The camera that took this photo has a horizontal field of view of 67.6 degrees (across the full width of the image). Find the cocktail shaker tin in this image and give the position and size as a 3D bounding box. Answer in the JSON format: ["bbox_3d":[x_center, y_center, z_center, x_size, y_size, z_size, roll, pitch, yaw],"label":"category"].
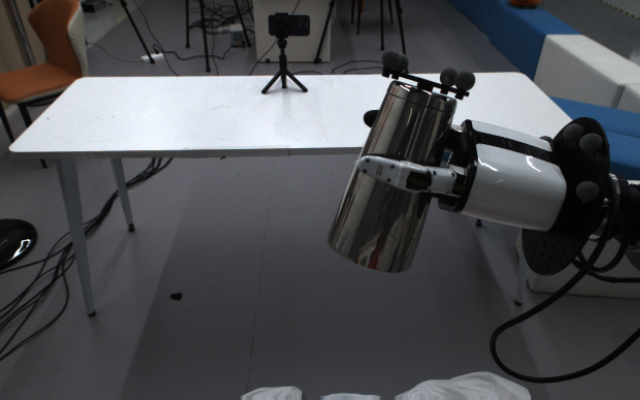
[{"bbox_3d":[0.076,-0.025,0.482,0.093,0.170,0.093,15,17,-5],"label":"cocktail shaker tin"}]
